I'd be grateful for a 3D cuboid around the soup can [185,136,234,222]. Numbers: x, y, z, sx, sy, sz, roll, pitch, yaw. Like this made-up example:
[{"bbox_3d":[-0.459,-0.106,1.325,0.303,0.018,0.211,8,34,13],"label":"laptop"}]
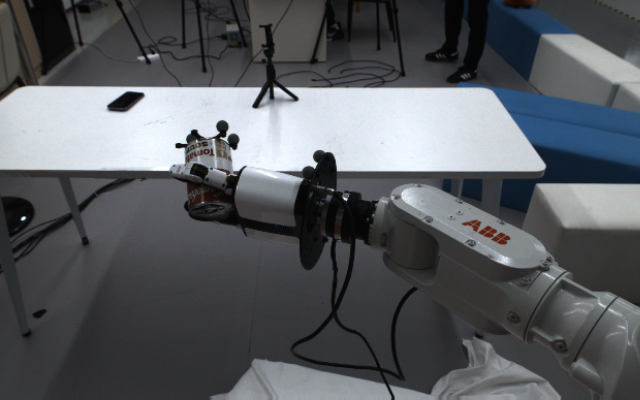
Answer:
[{"bbox_3d":[-0.154,-0.027,0.686,0.067,0.067,0.101,-6,68,-12],"label":"soup can"}]
